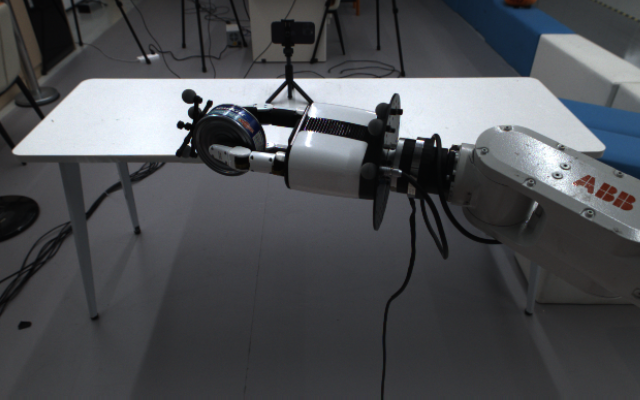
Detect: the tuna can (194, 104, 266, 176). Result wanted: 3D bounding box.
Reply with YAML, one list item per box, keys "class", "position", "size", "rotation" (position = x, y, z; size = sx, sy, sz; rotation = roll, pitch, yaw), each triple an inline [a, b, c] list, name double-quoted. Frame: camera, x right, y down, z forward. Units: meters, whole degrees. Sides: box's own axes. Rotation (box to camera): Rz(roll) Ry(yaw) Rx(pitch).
- class: "tuna can"
  position: [-0.111, -0.074, 0.600]
  size: [0.085, 0.085, 0.034]
  rotation: [11, 35, 13]
